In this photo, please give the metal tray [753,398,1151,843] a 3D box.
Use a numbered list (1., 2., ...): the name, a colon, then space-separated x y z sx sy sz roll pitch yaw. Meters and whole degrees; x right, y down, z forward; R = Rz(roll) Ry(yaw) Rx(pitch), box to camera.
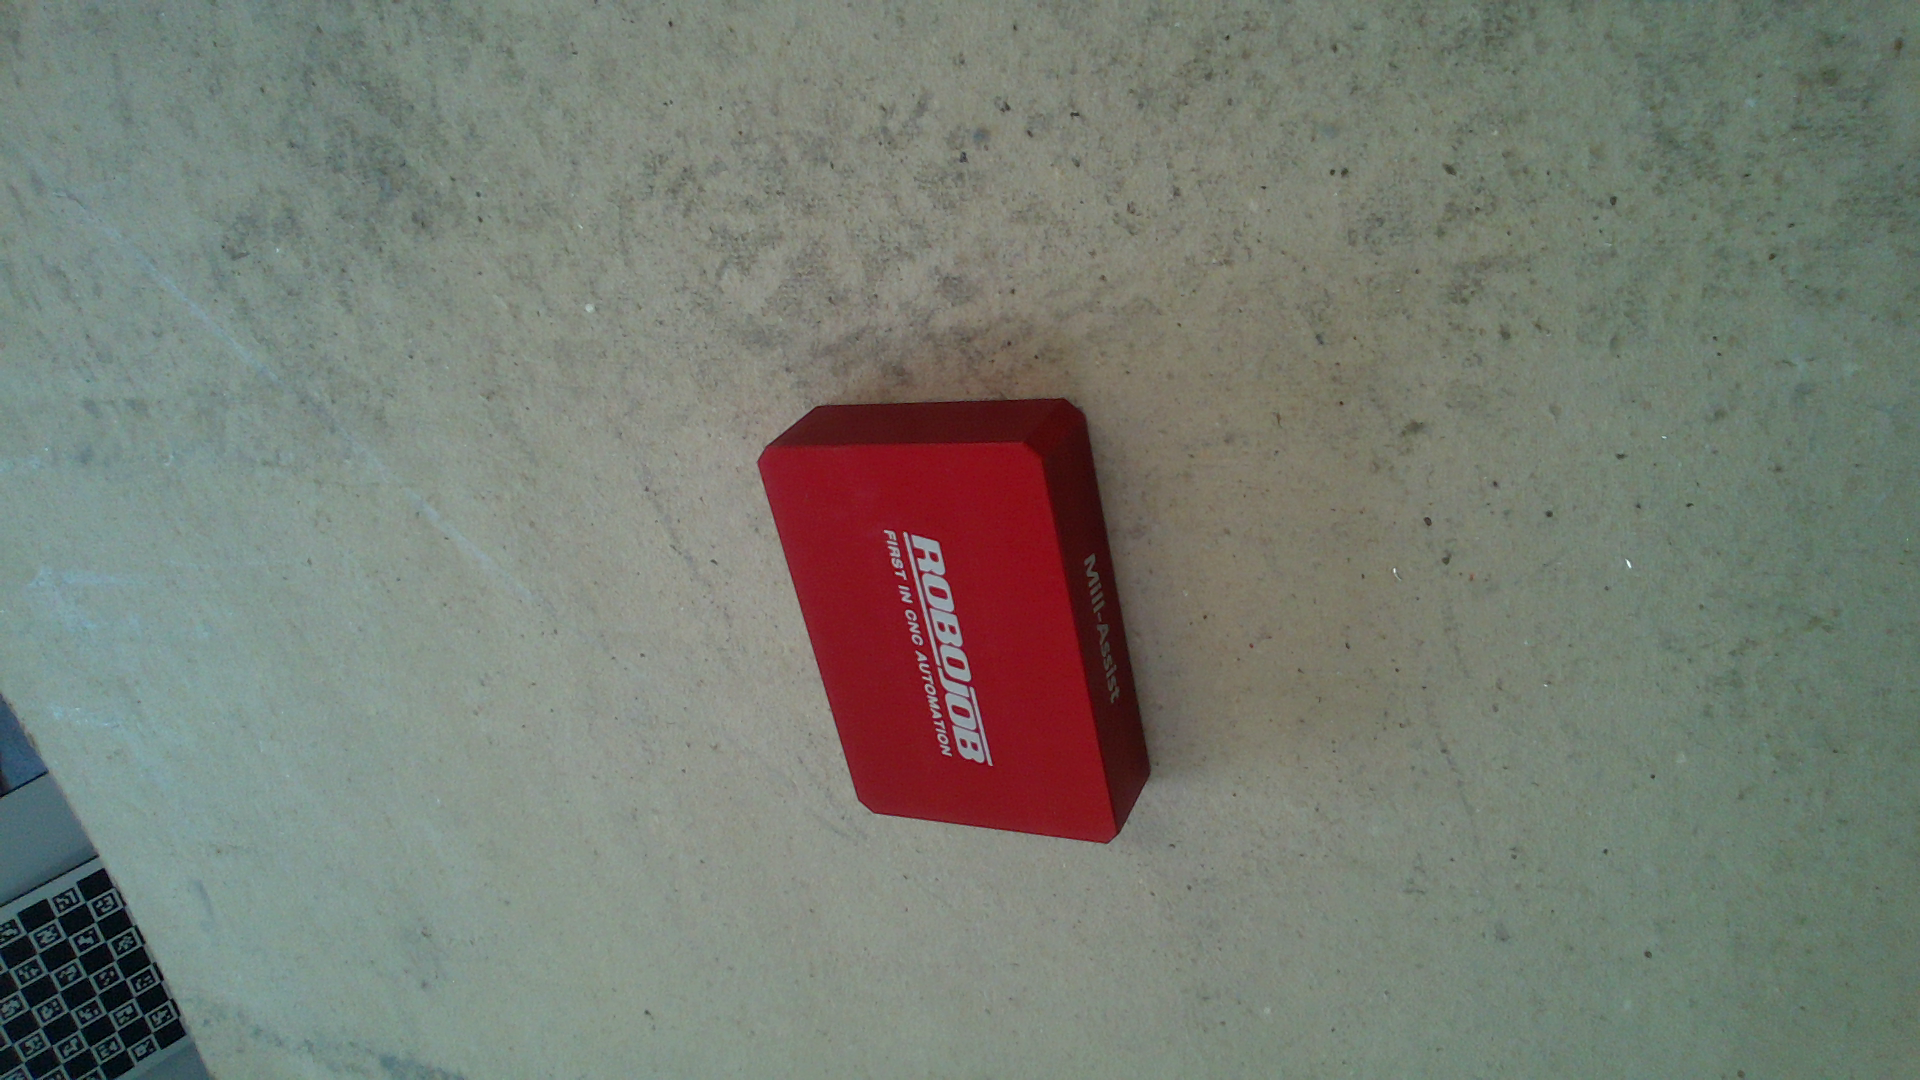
1. metal tray: 0.000 0.025 0.405 0.090 0.030 0.130 1 120 27
